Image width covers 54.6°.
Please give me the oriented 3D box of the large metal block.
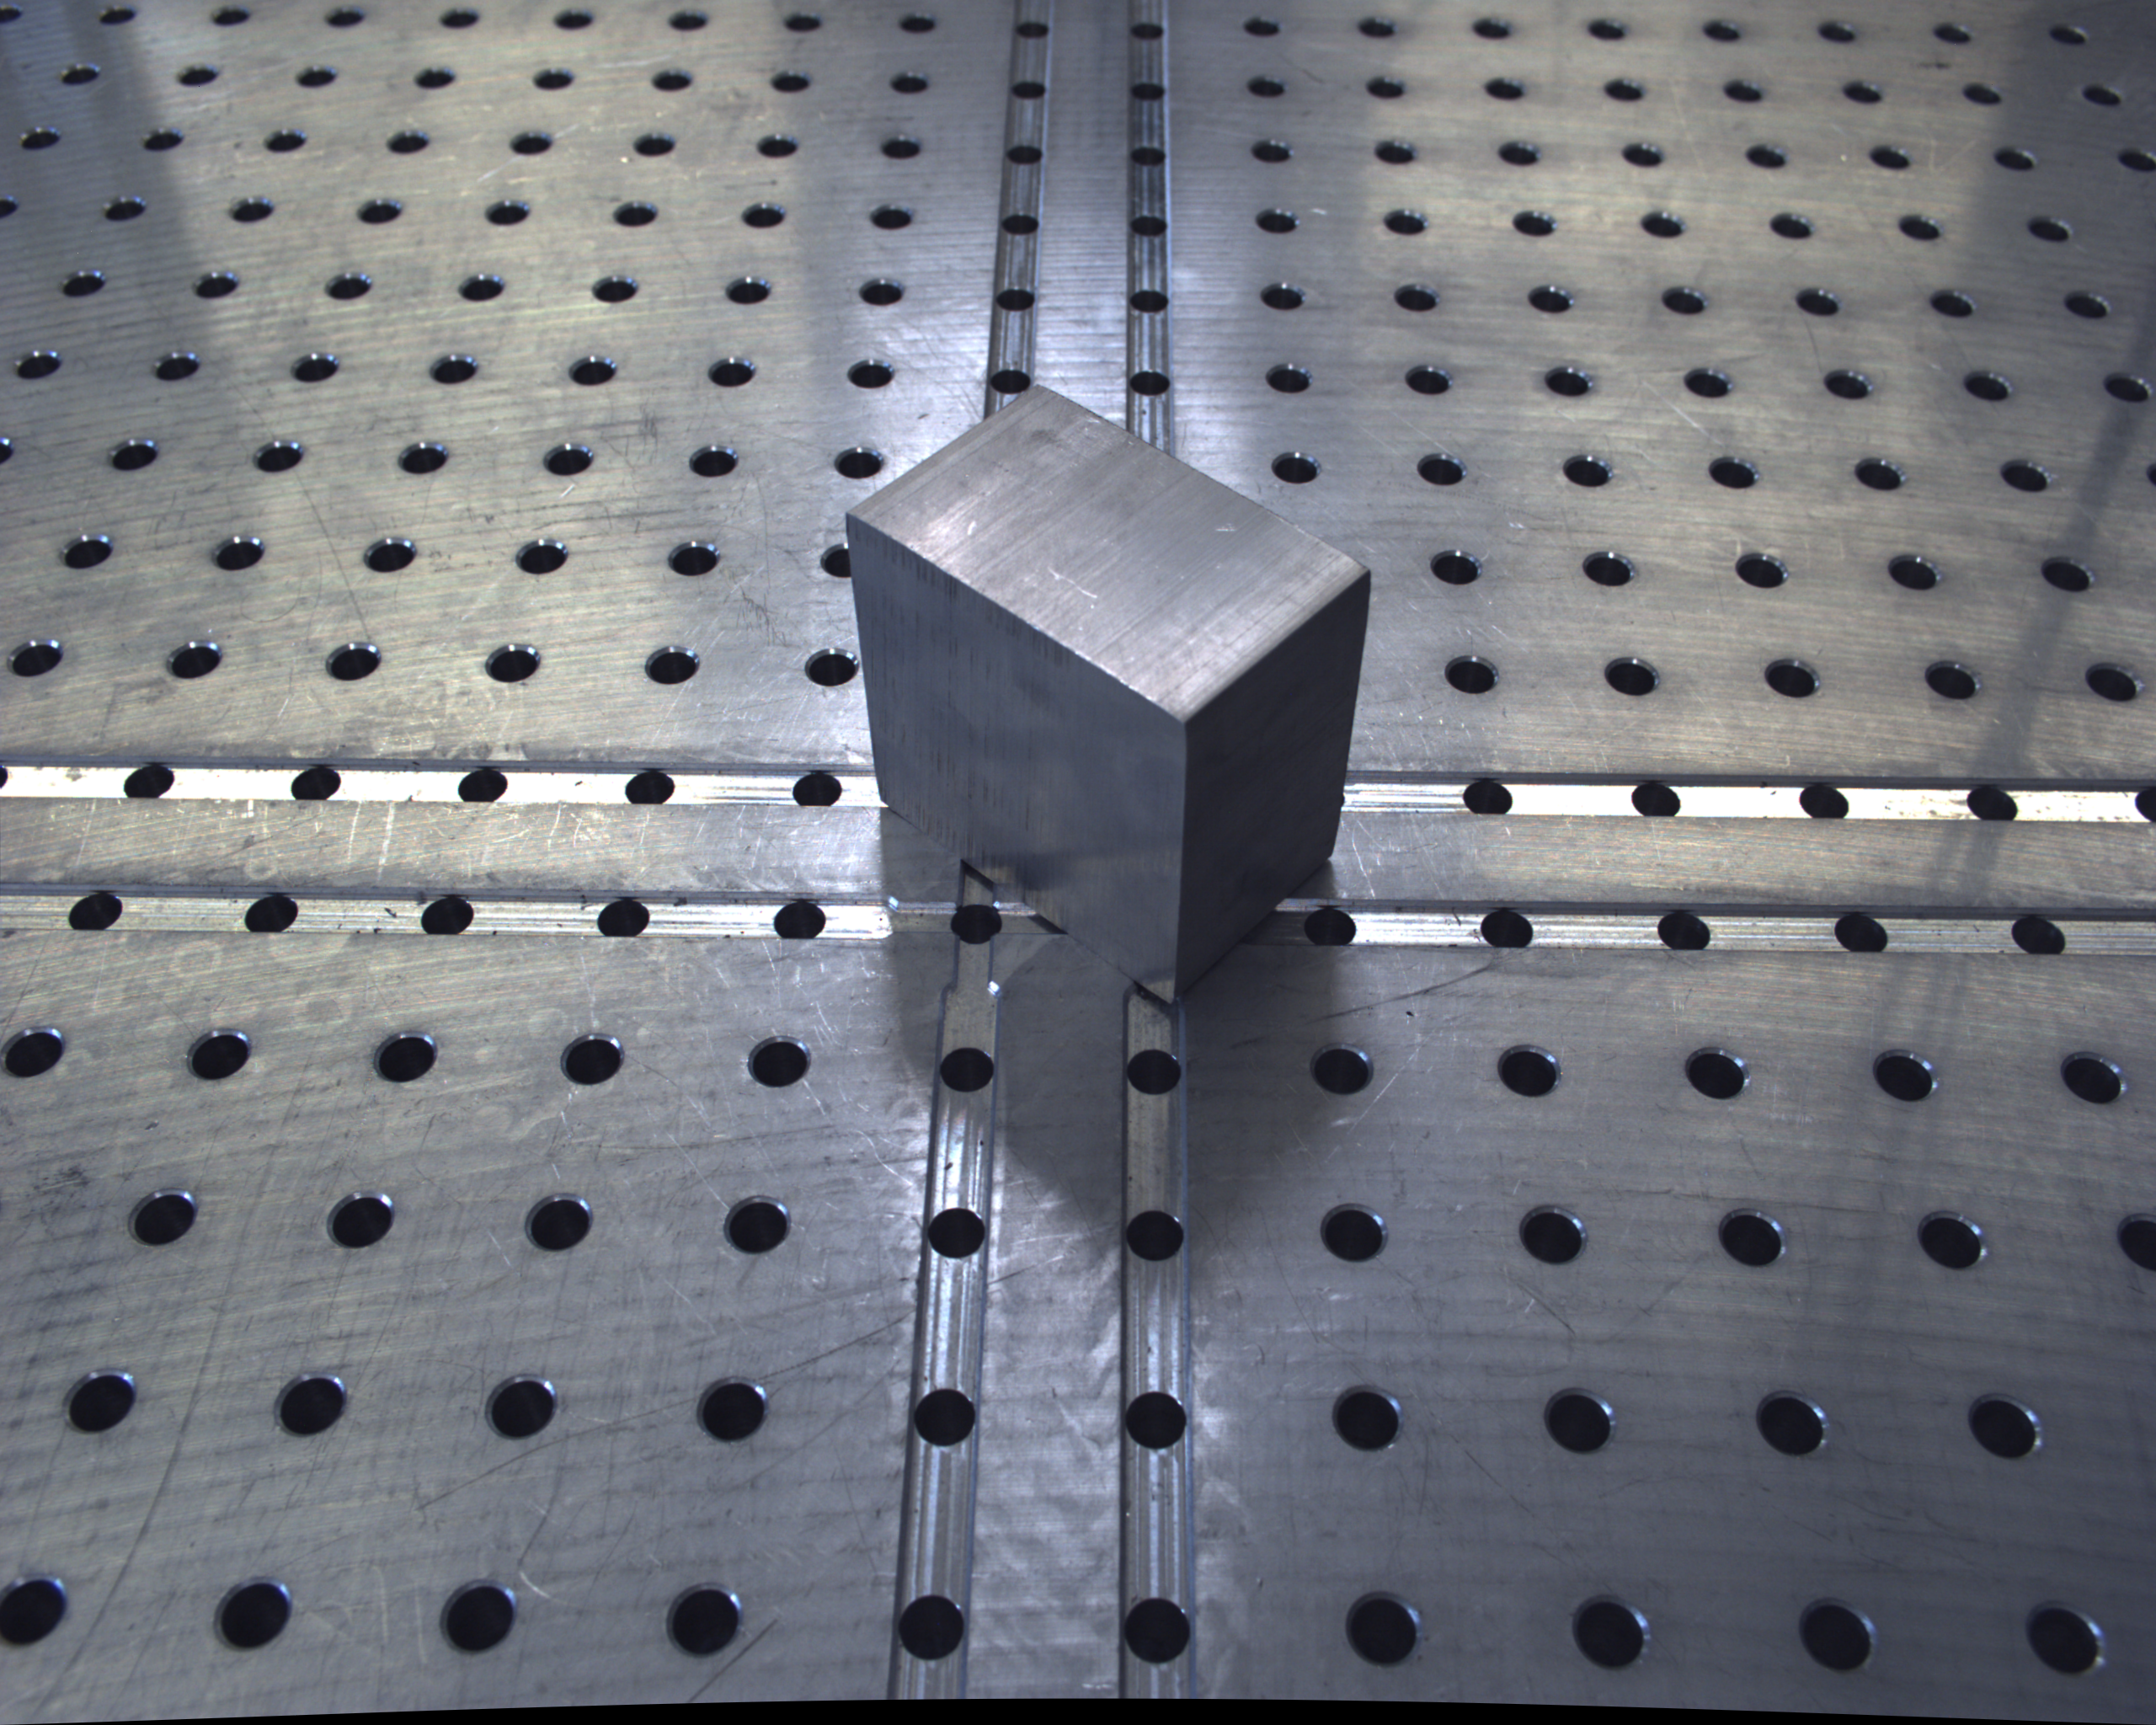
[{"bbox_3d":[0.005,-0.032,0.399,0.080,0.080,0.050,34,58,25],"label":"large metal block"}]
